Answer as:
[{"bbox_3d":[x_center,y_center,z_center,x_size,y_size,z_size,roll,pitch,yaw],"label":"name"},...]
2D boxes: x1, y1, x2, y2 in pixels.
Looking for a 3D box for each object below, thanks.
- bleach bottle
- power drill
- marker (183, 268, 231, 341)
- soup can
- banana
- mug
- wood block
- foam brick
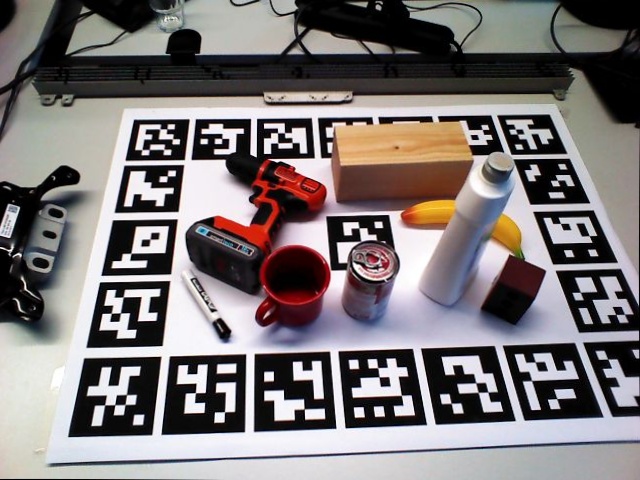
[{"bbox_3d":[0.196,-0.015,0.651,0.068,0.252,0.102,23,56,15],"label":"bleach bottle"},{"bbox_3d":[-0.093,-0.042,0.787,0.185,0.057,0.185,25,56,11],"label":"power drill"},{"bbox_3d":[-0.156,0.089,0.711,0.019,0.020,0.121,-28,61,-17],"label":"marker"},{"bbox_3d":[0.070,0.051,0.684,0.068,0.102,0.067,2,50,-3],"label":"soup can"},{"bbox_3d":[0.223,-0.039,0.796,0.198,0.039,0.074,13,69,5],"label":"banana"},{"bbox_3d":[-0.039,0.065,0.689,0.093,0.082,0.116,37,65,20],"label":"mug"},{"bbox_3d":[0.140,-0.123,0.826,0.206,0.091,0.089,-2,56,-3],"label":"wood block"},{"bbox_3d":[0.274,0.072,0.699,0.053,0.078,0.051,27,56,19],"label":"foam brick"}]
